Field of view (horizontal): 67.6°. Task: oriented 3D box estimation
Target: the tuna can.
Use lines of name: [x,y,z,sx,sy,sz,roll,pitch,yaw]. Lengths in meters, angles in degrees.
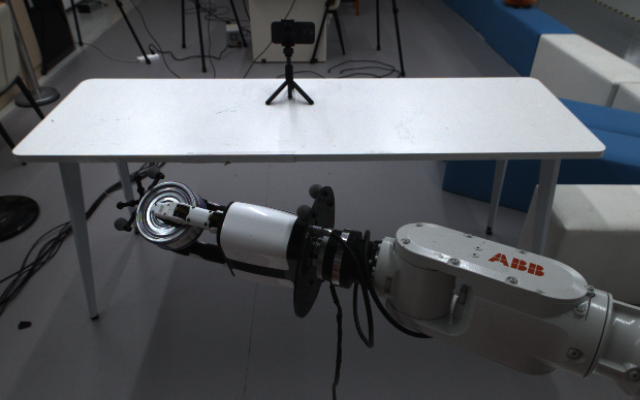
tuna can: [-0.190,0.019,0.625,0.085,0.034,0.085,-3,70,9]
